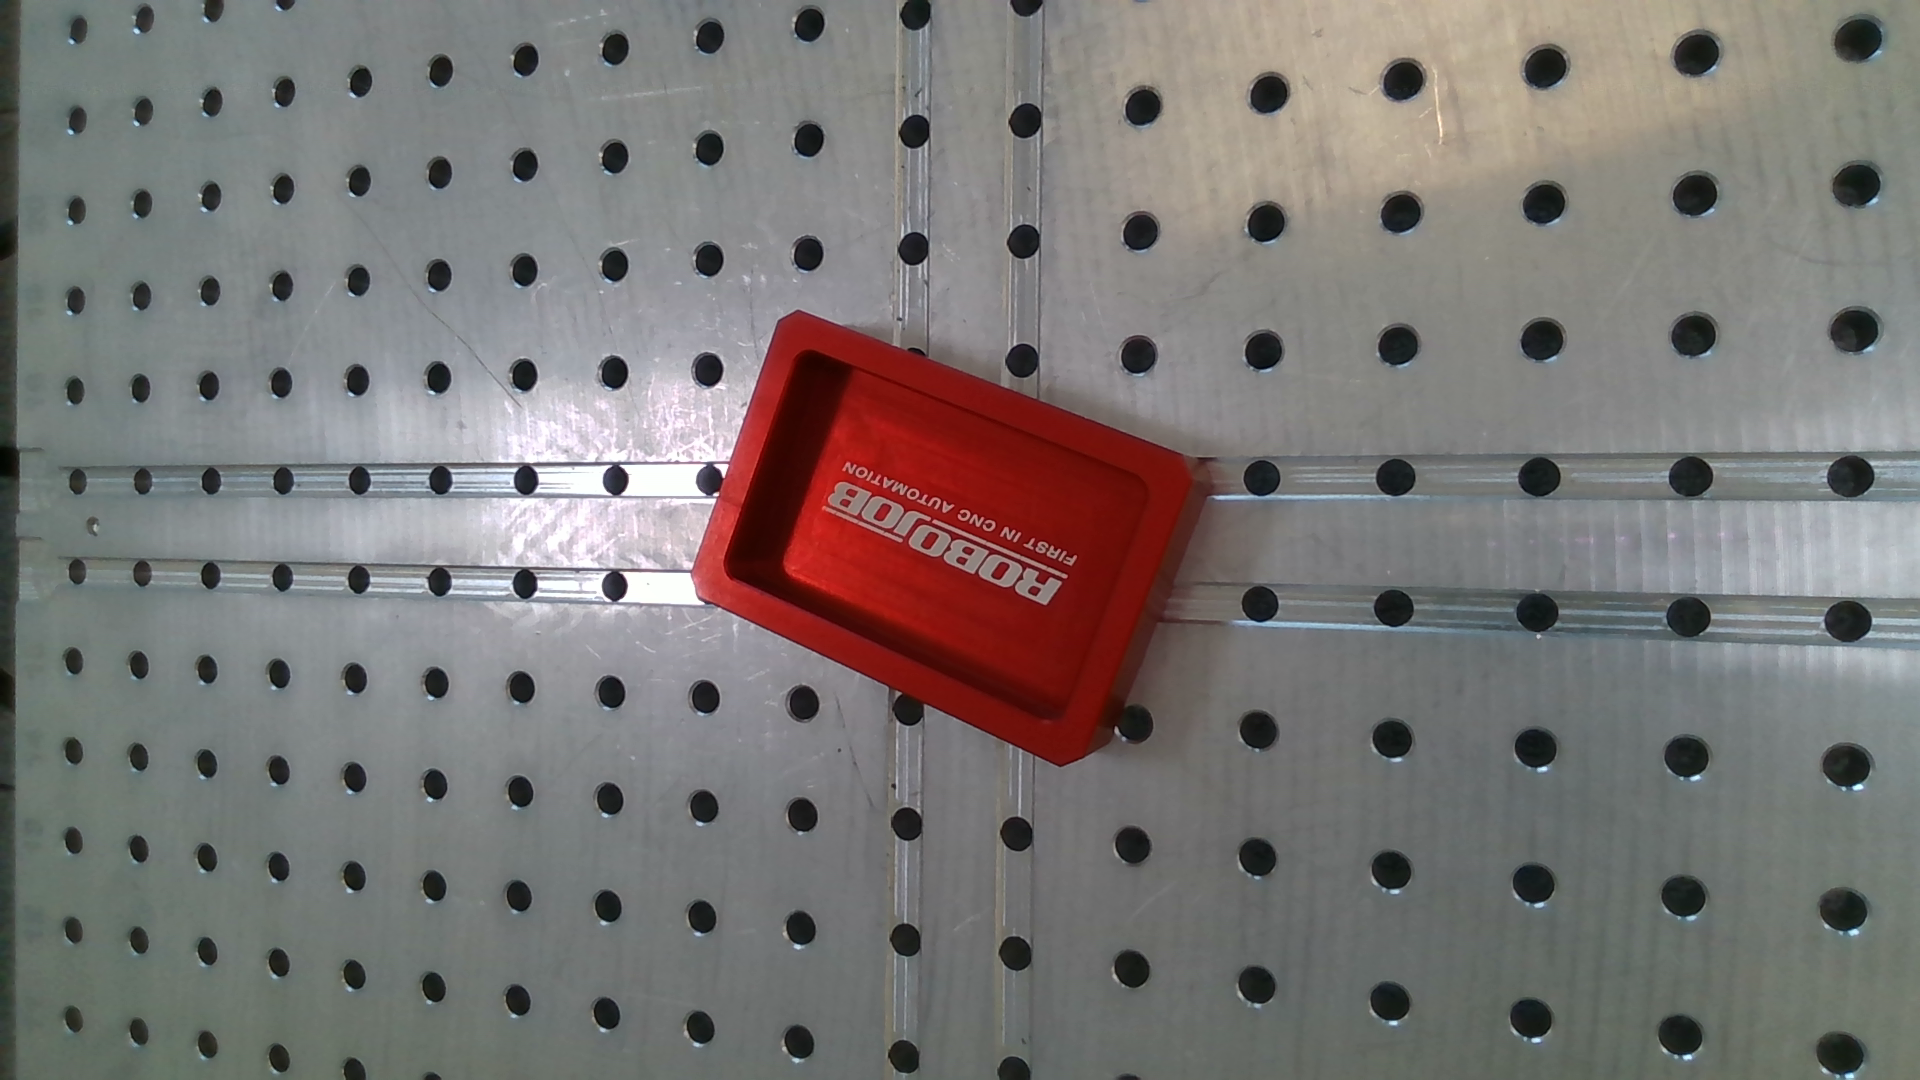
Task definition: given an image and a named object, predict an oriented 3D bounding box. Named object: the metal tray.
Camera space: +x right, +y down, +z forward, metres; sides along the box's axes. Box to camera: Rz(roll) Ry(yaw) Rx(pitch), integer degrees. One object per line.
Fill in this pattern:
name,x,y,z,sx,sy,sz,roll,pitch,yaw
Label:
metal tray,-0.005,-0.003,0.395,0.130,0.030,0.090,23,98,19
